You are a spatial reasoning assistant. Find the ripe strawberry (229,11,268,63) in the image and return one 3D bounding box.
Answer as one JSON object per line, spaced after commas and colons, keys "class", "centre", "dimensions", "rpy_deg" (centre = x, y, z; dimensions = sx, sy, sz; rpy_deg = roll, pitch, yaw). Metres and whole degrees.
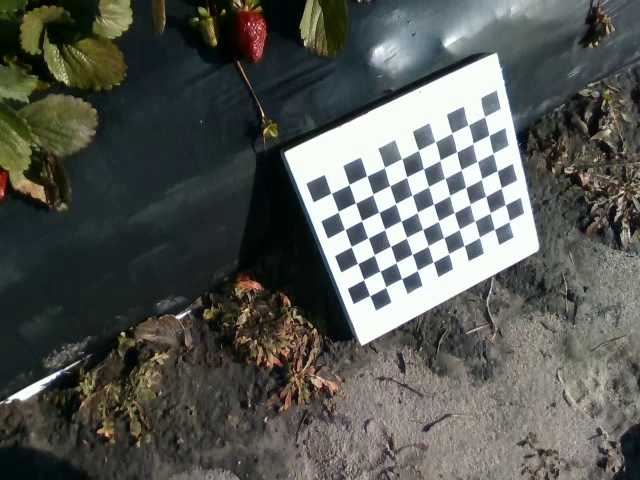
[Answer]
{"class": "ripe strawberry", "centre": [-0.064, -0.185, 0.529], "dimensions": [0.041, 0.053, 0.043], "rpy_deg": [-17, -22, -19]}
